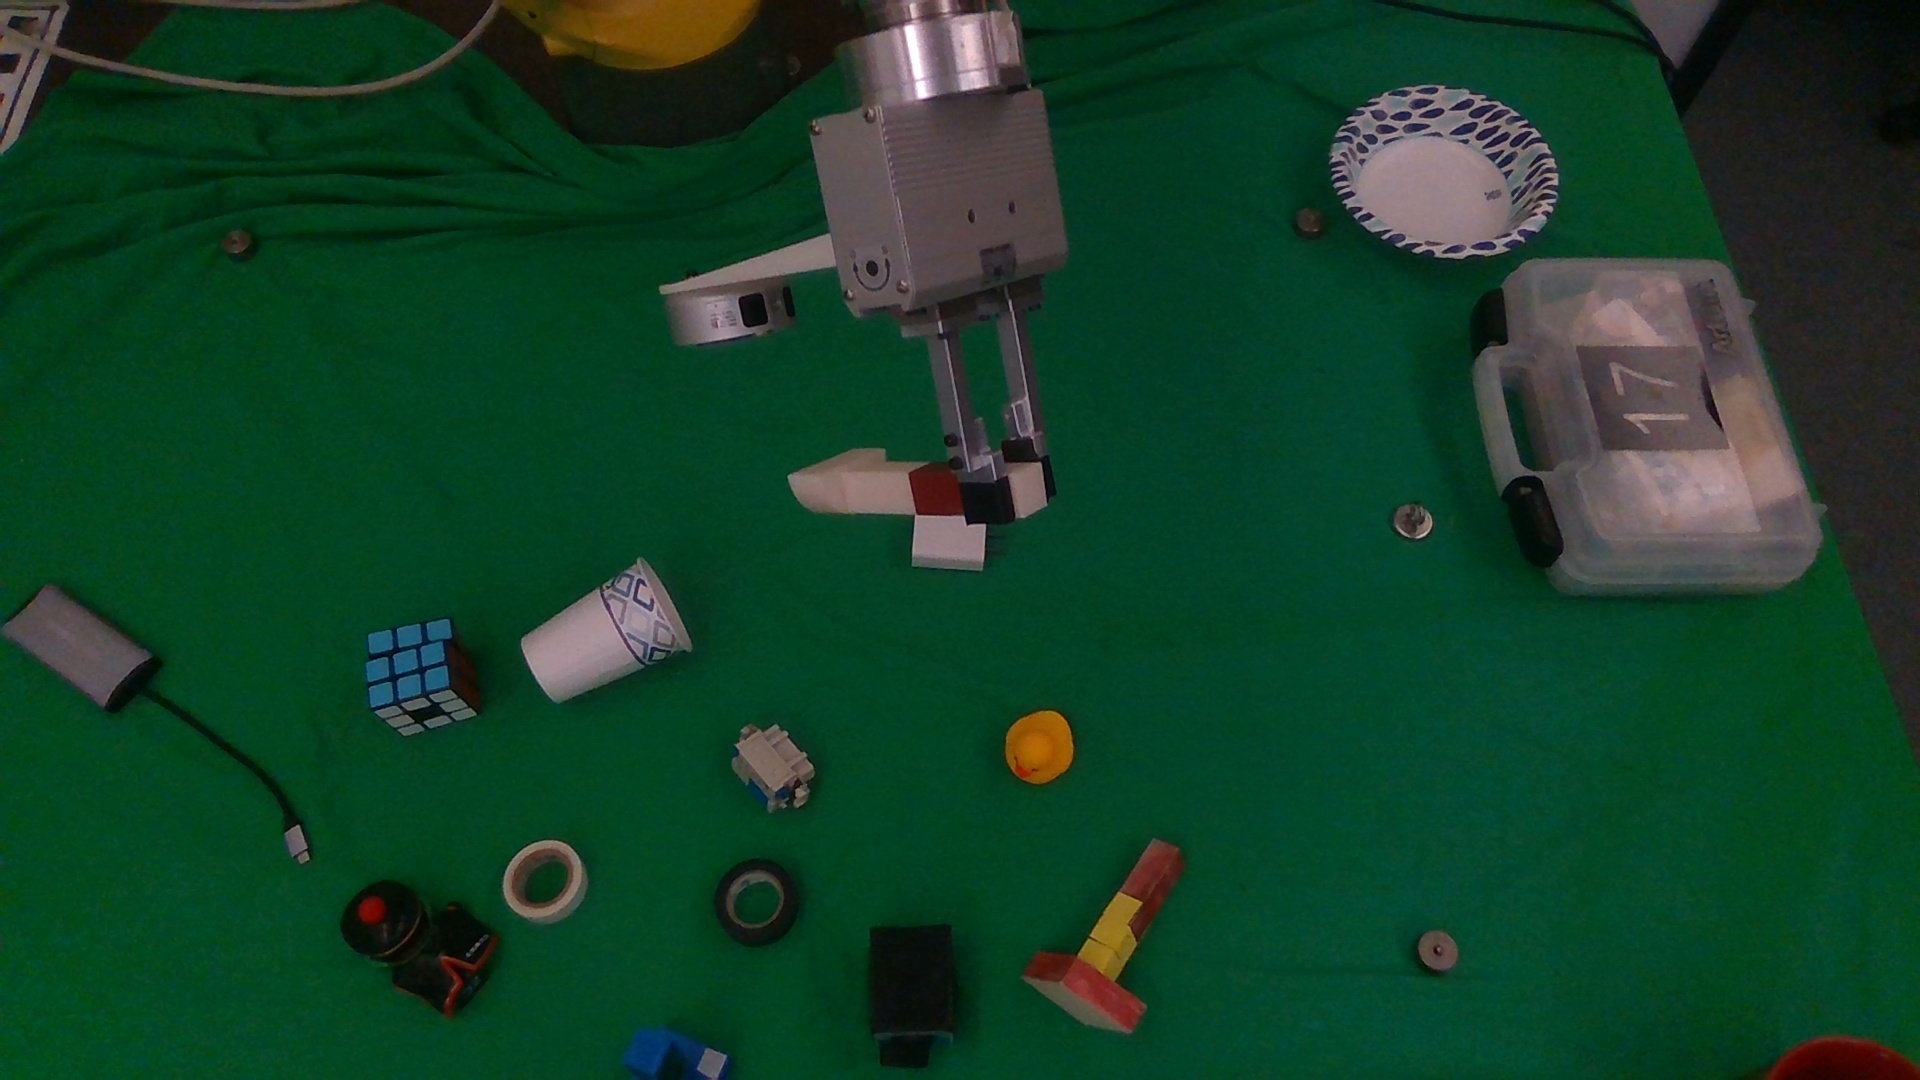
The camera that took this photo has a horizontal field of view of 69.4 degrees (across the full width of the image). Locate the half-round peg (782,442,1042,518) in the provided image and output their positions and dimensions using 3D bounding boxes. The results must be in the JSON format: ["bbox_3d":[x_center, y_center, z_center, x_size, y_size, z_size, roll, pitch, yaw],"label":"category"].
[{"bbox_3d":[-0.019,-0.027,0.631,0.122,0.031,0.054,2,19,37],"label":"half-round peg"}]

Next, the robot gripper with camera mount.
[{"bbox_3d":[-0.057,-0.085,0.631,0.194,0.158,0.118,-4,15,36],"label":"robot gripper with camera mount"}]
